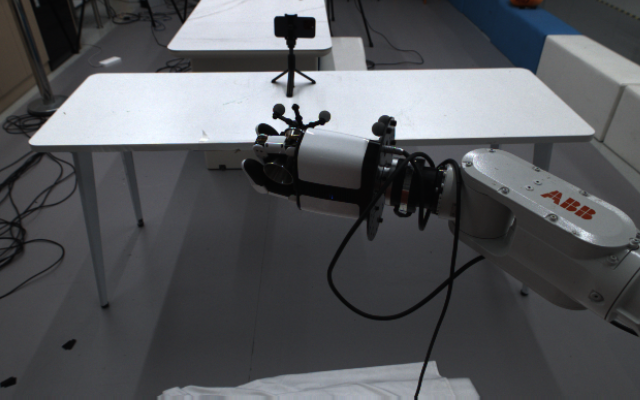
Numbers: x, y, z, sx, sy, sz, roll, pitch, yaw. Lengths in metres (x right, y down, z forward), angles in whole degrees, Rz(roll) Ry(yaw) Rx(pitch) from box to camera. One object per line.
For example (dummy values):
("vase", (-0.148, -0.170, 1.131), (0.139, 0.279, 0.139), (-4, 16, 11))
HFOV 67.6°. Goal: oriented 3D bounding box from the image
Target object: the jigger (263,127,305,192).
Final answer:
("jigger", (-0.041, -0.060, 0.653), (0.043, 0.043, 0.071), (13, 58, 16))
